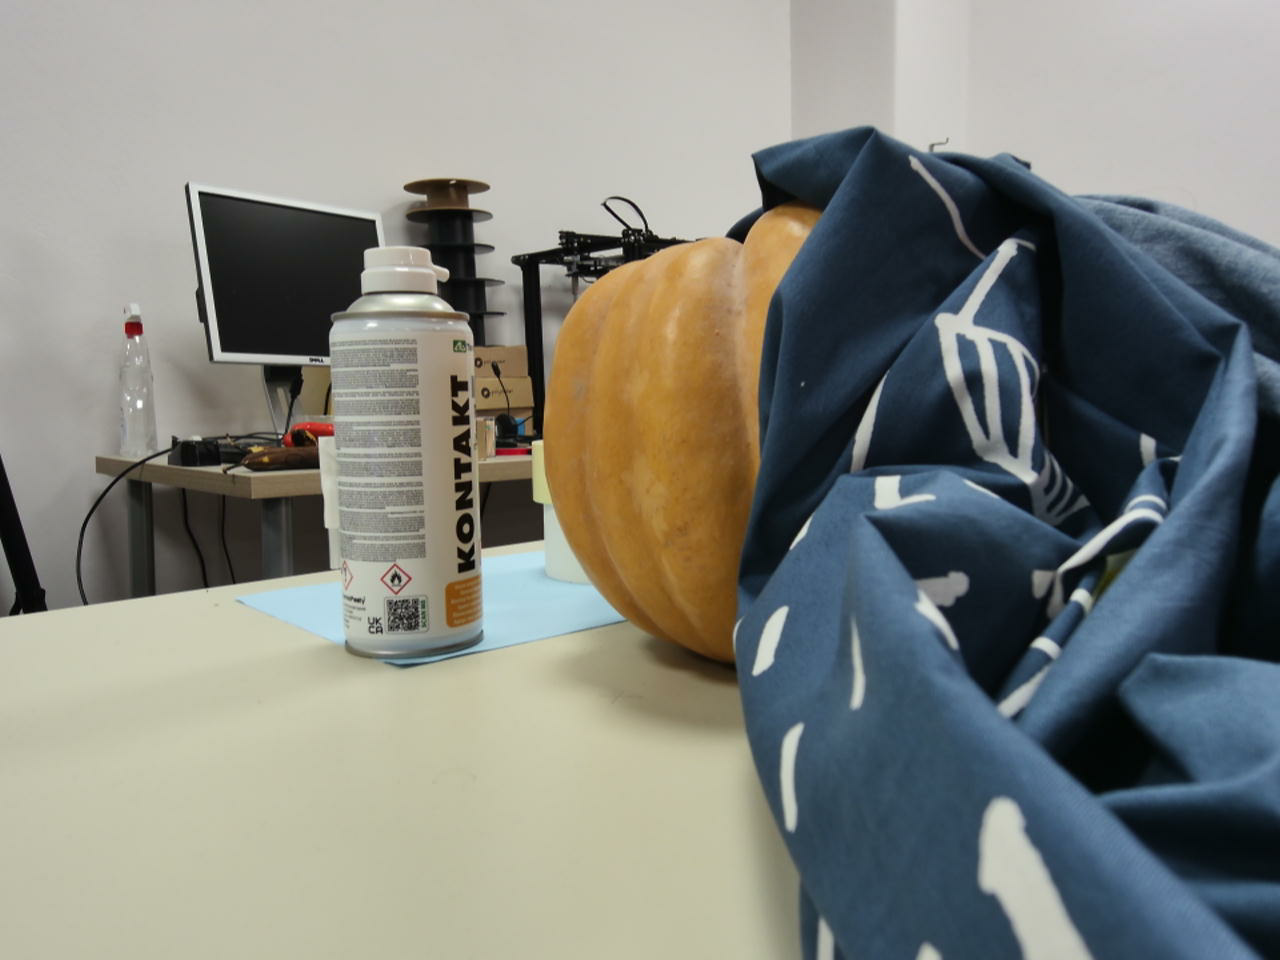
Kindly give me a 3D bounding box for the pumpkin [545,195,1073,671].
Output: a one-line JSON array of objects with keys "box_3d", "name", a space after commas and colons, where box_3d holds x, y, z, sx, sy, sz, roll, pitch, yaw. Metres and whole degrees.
[{"box_3d": [0.071, -0.017, 0.451, 0.230, 0.194, 0.230, 1, 3, 0], "name": "pumpkin"}]
